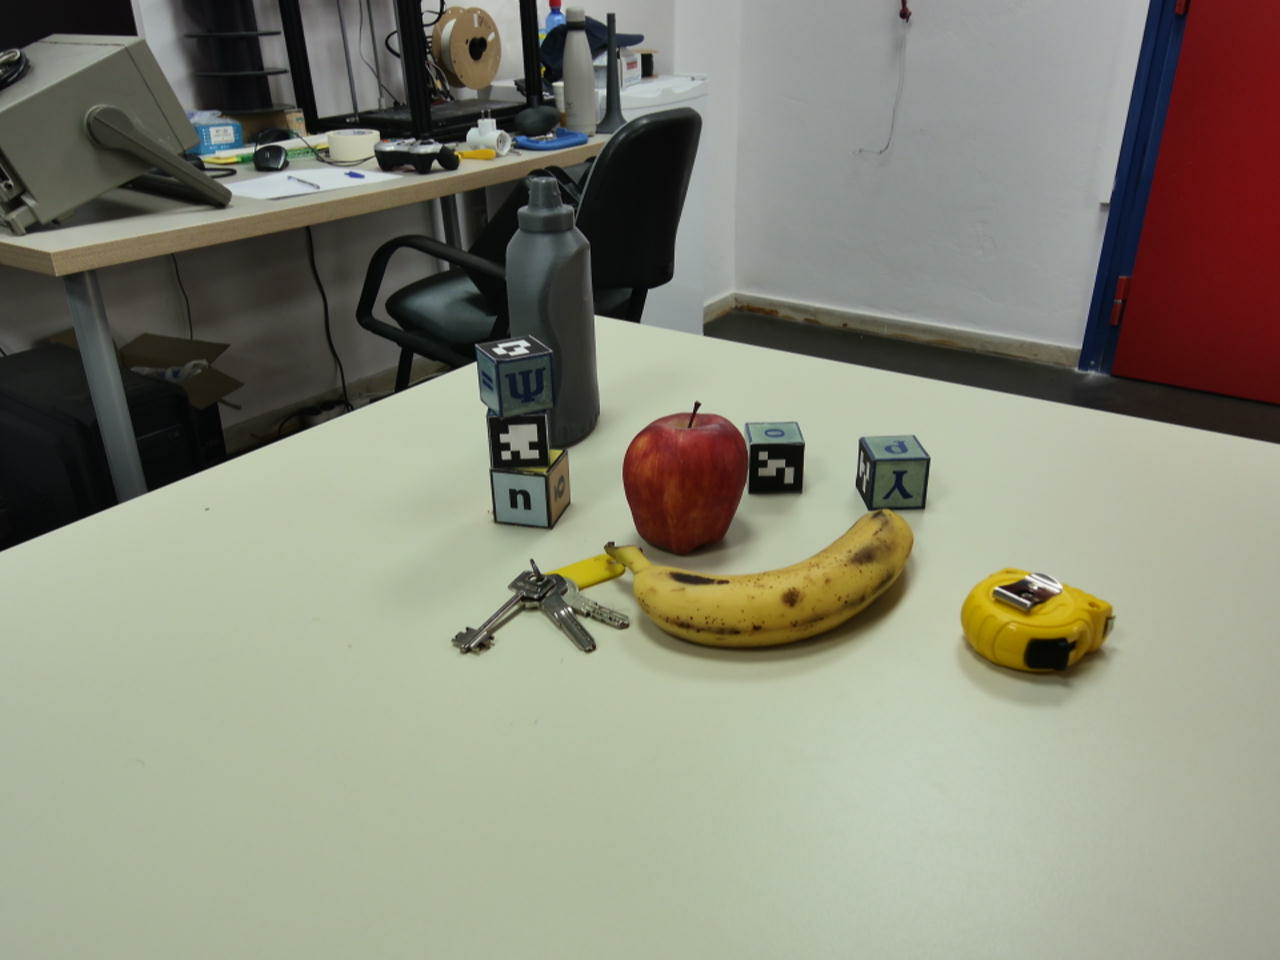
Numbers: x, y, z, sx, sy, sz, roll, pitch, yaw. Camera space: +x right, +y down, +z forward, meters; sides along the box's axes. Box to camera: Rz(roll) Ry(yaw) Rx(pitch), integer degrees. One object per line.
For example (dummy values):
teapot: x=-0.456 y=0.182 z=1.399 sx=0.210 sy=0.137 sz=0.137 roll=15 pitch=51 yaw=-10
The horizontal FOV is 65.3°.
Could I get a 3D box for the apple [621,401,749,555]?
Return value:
apple: x=0.028 y=-0.006 z=0.610 sx=0.083 sy=0.090 sz=0.083 roll=-1 pitch=25 yaw=0
